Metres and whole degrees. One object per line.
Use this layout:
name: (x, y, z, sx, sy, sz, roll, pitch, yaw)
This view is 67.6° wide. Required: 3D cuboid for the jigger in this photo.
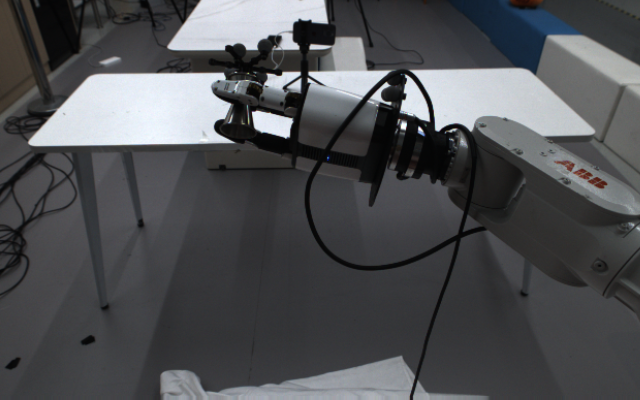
jigger: (-0.095, -0.113, 0.580, 0.043, 0.043, 0.071, 3, 75, 2)
